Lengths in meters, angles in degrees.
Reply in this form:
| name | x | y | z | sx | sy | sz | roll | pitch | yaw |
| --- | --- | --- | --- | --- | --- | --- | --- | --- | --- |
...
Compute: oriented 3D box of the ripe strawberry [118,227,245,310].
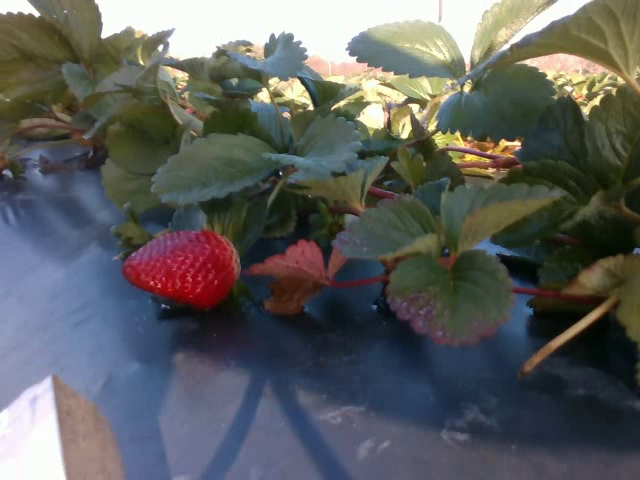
| name | x | y | z | sx | sy | sz | roll | pitch | yaw |
| --- | --- | --- | --- | --- | --- | --- | --- | --- | --- |
| ripe strawberry | -0.057 | 0.010 | 0.233 | 0.040 | 0.041 | 0.056 | -25 | -11 | 27 |
